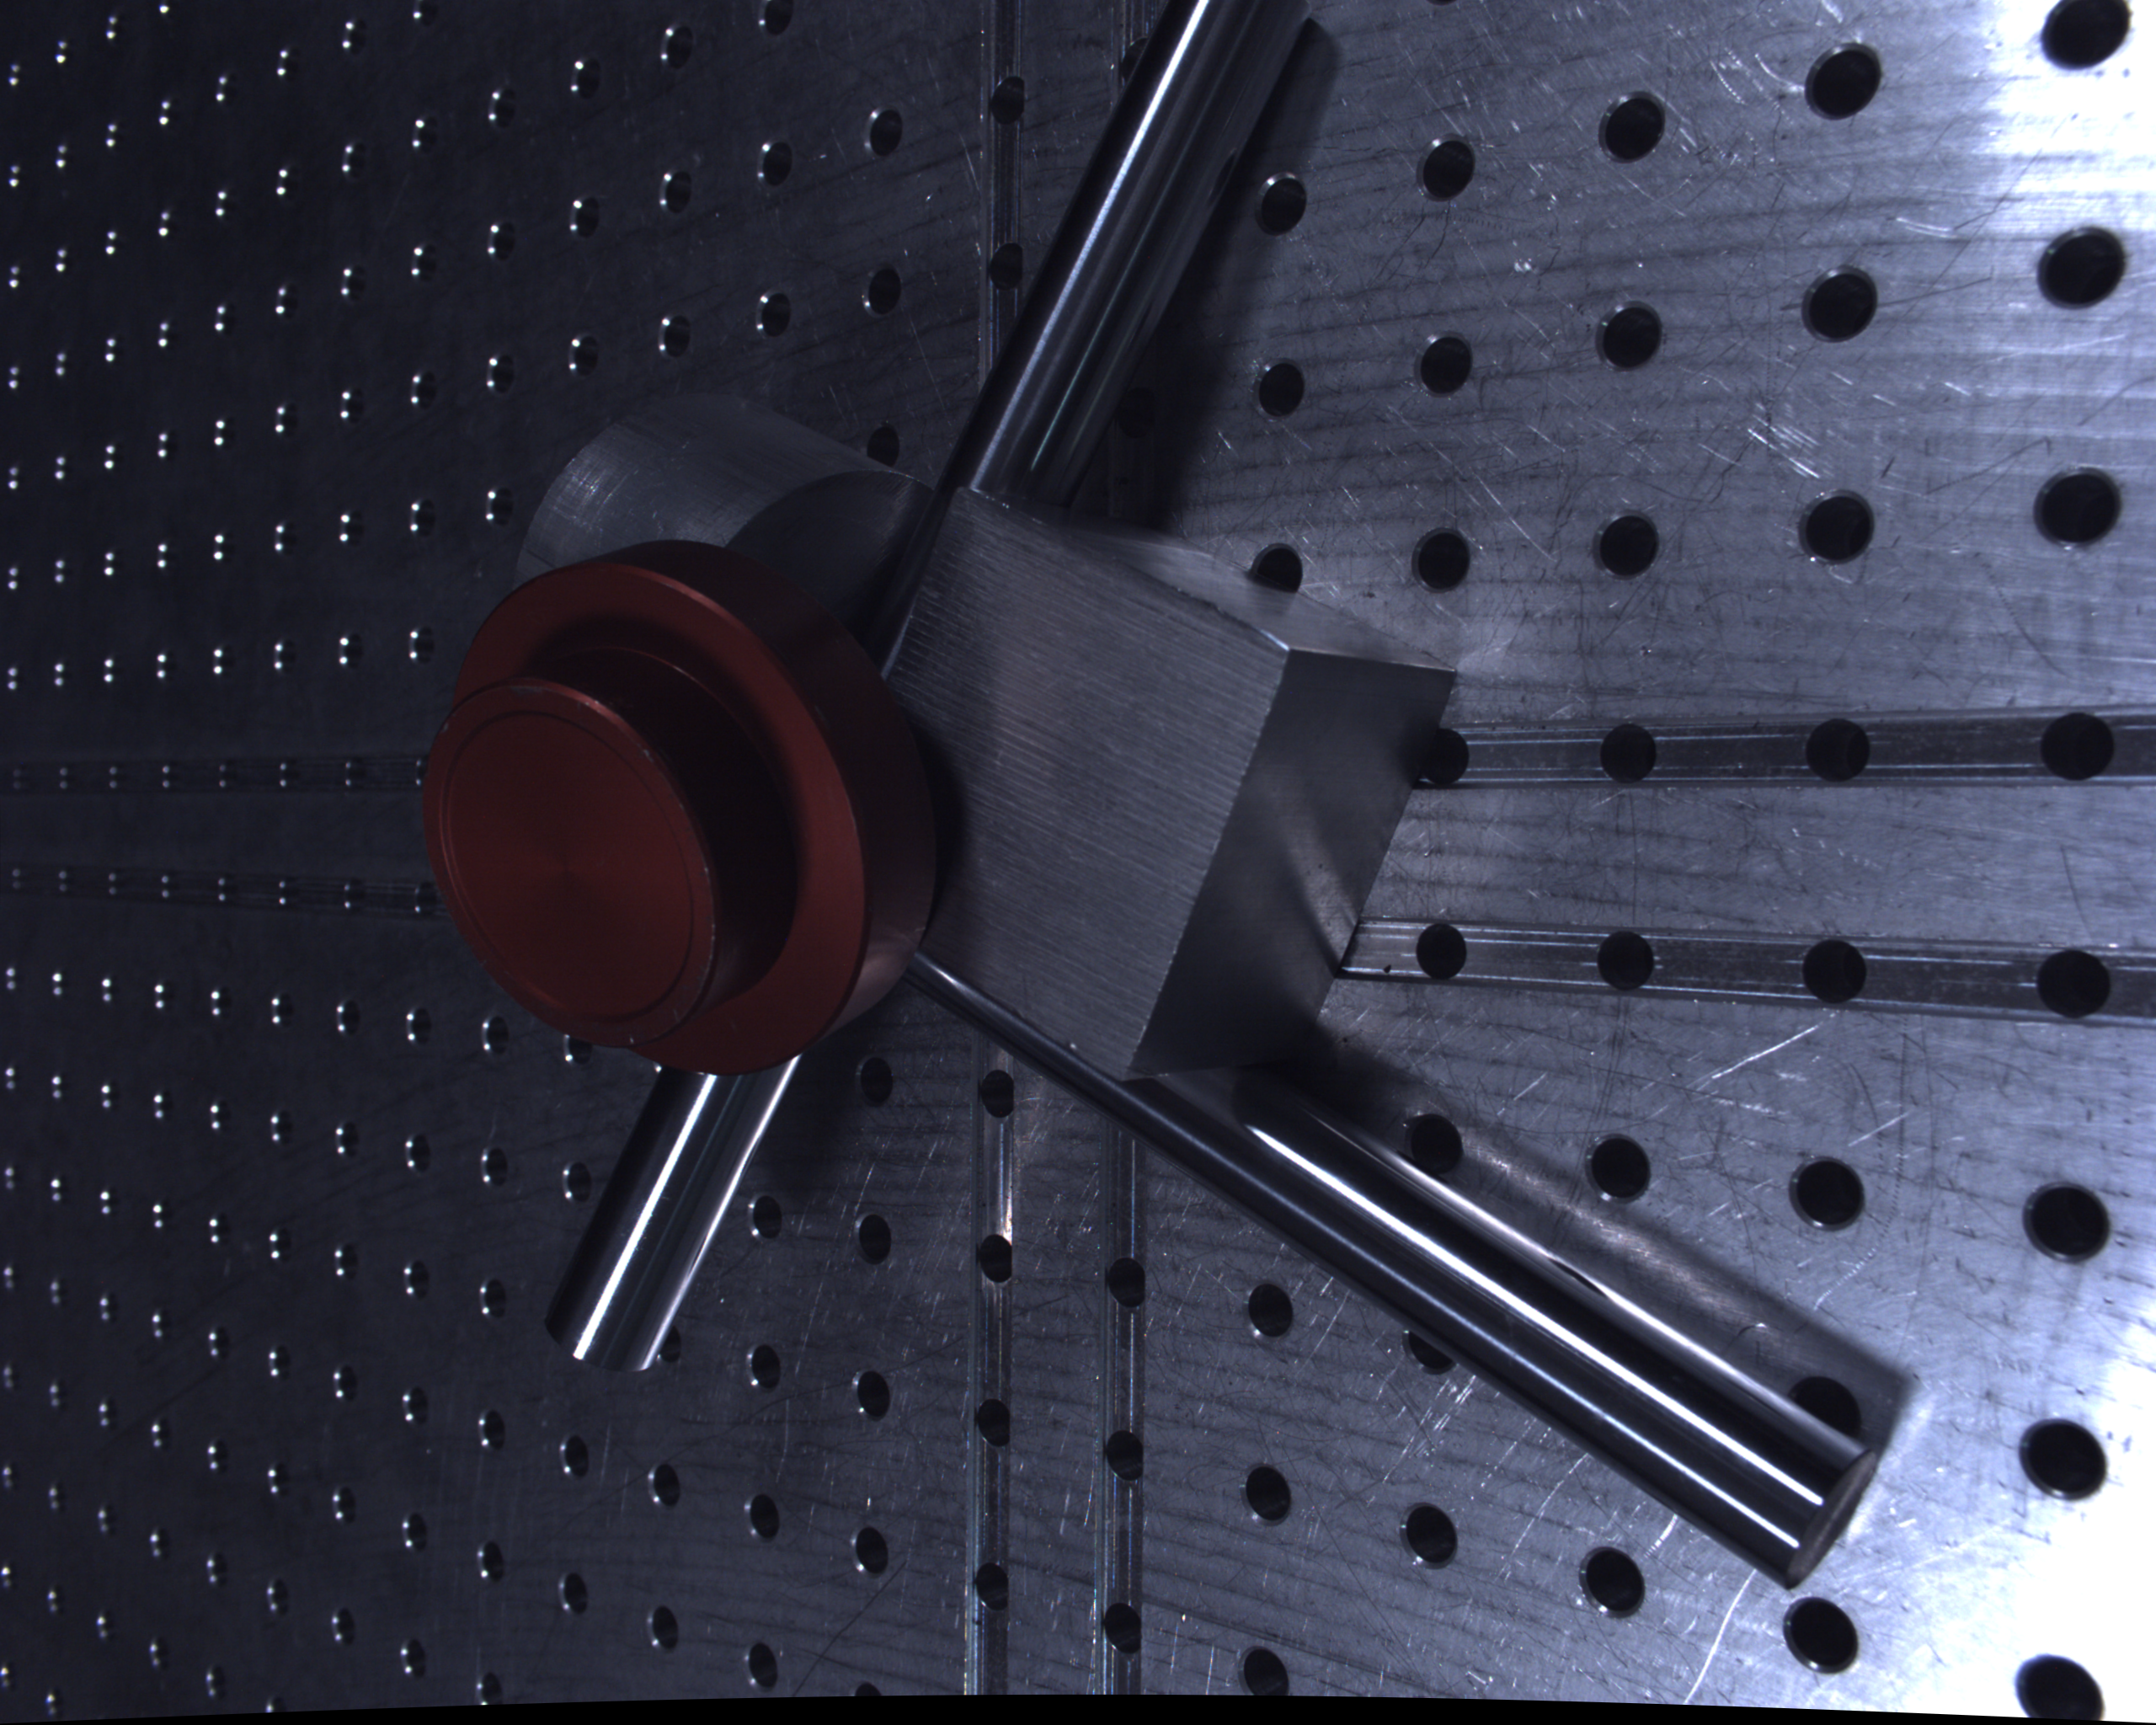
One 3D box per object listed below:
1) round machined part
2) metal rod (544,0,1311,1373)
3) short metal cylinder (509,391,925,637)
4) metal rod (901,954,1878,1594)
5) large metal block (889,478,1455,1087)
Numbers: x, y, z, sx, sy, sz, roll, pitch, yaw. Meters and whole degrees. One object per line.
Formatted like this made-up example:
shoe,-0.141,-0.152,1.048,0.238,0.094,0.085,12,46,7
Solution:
round machined part,-0.078,-0.005,0.375,0.098,0.042,0.097,13,116,28
metal rod,-0.035,-0.031,0.410,0.025,0.025,0.298,34,104,34
short metal cylinder,-0.067,-0.050,0.426,0.050,0.081,0.079,31,109,35
metal rod,0.008,0.036,0.400,0.300,0.025,0.025,31,109,35
large metal block,0.009,-0.016,0.380,0.080,0.050,0.079,32,110,35
